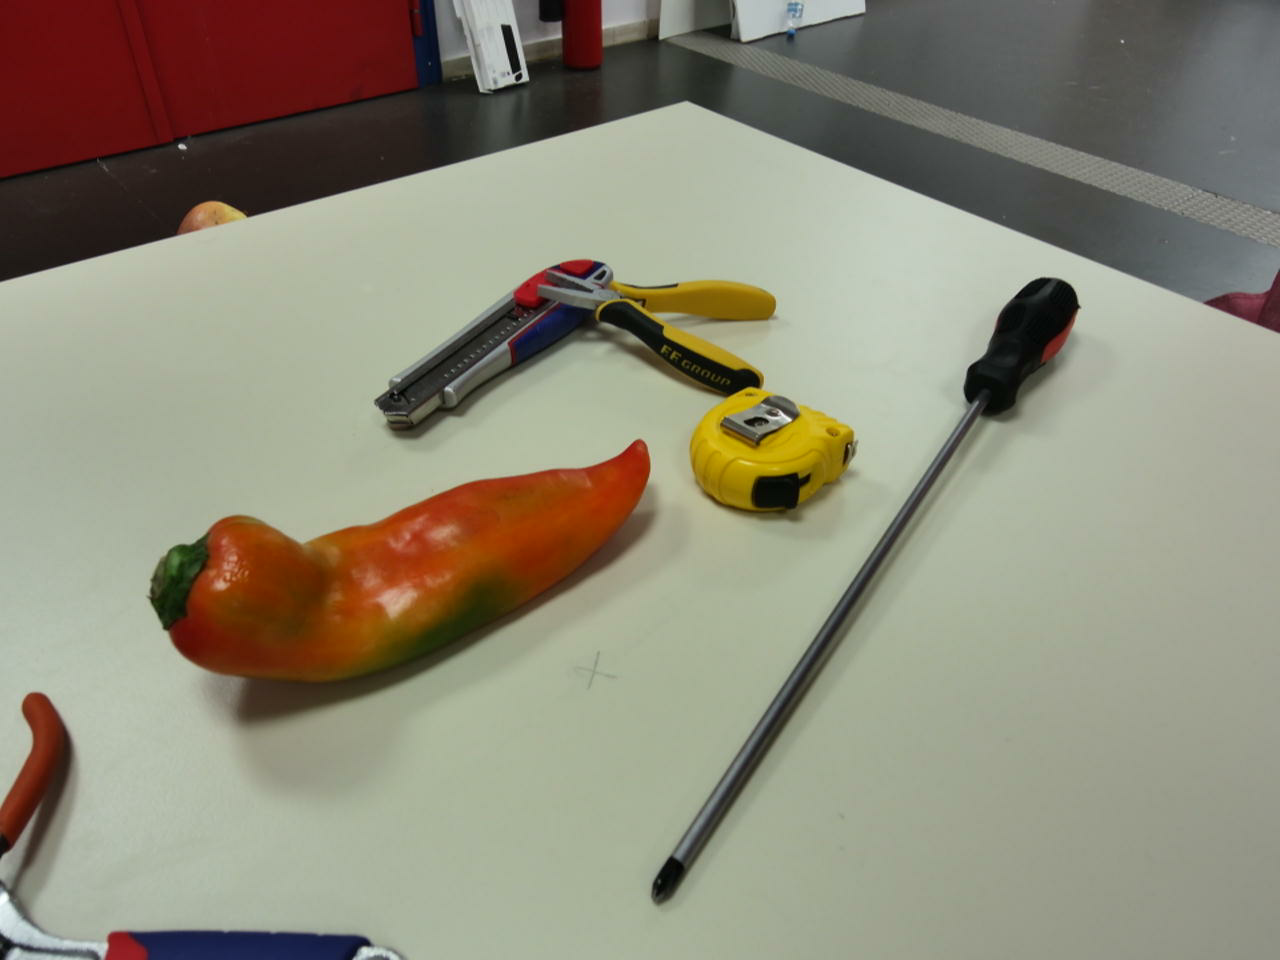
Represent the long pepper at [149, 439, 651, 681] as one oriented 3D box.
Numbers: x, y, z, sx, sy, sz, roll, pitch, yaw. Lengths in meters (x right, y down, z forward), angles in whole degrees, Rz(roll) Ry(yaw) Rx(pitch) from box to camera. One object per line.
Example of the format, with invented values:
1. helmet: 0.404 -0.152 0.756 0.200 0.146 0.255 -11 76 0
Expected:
1. long pepper: -0.075 0.019 0.376 0.199 0.065 0.066 -22 42 -27
